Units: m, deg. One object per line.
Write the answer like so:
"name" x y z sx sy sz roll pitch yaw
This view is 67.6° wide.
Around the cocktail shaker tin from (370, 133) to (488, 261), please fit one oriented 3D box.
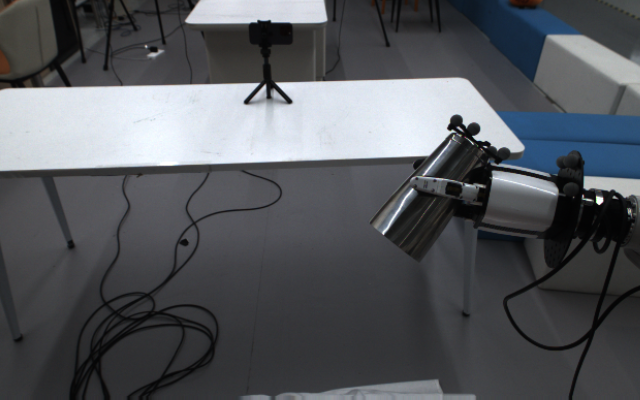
"cocktail shaker tin" 0.157 -0.011 0.678 0.170 0.093 0.093 -50 46 4
